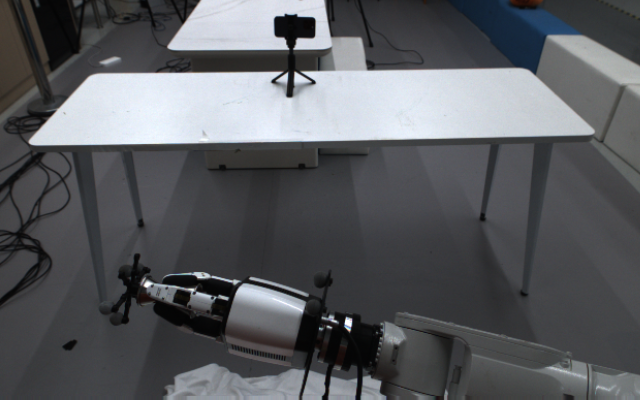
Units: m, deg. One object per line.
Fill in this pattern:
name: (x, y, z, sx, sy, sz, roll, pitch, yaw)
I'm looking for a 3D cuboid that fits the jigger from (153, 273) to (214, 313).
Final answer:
jigger: (-0.179, 0.116, 0.602, 0.071, 0.043, 0.043, 10, 35, 2)
